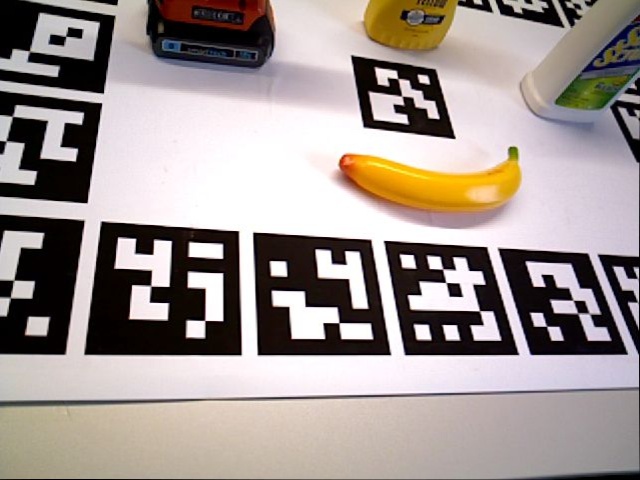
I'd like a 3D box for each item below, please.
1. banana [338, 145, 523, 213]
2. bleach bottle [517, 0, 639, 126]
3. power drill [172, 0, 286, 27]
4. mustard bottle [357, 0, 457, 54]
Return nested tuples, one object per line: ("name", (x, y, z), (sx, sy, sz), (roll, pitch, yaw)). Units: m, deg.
("banana", (0.111, -0.059, 0.487), (0.195, 0.040, 0.073), (-2, 64, -16))
("bleach bottle", (0.310, -0.223, 0.529), (0.102, 0.257, 0.067), (12, 57, -13))
("power drill", (-0.051, -0.265, 0.432), (0.182, 0.191, 0.057), (-3, 61, -16))
("mustard bottle", (0.114, -0.276, 0.532), (0.095, 0.196, 0.058), (-2, 61, -22))
